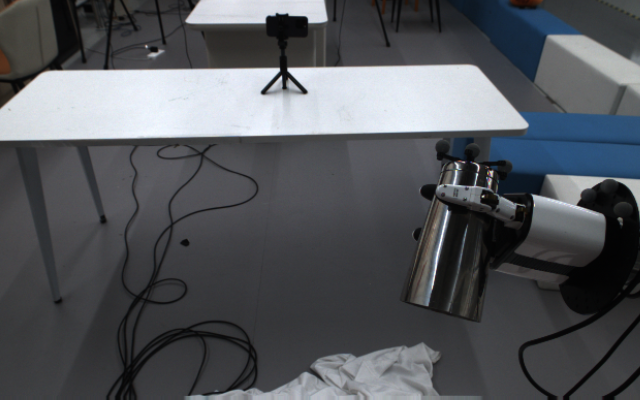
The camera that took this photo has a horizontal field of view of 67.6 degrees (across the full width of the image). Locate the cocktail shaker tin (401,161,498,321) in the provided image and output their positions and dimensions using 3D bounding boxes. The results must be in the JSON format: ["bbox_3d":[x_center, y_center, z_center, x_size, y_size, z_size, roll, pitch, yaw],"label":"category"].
[{"bbox_3d":[0.161,0.043,0.564,0.093,0.093,0.170,13,79,15],"label":"cocktail shaker tin"}]
